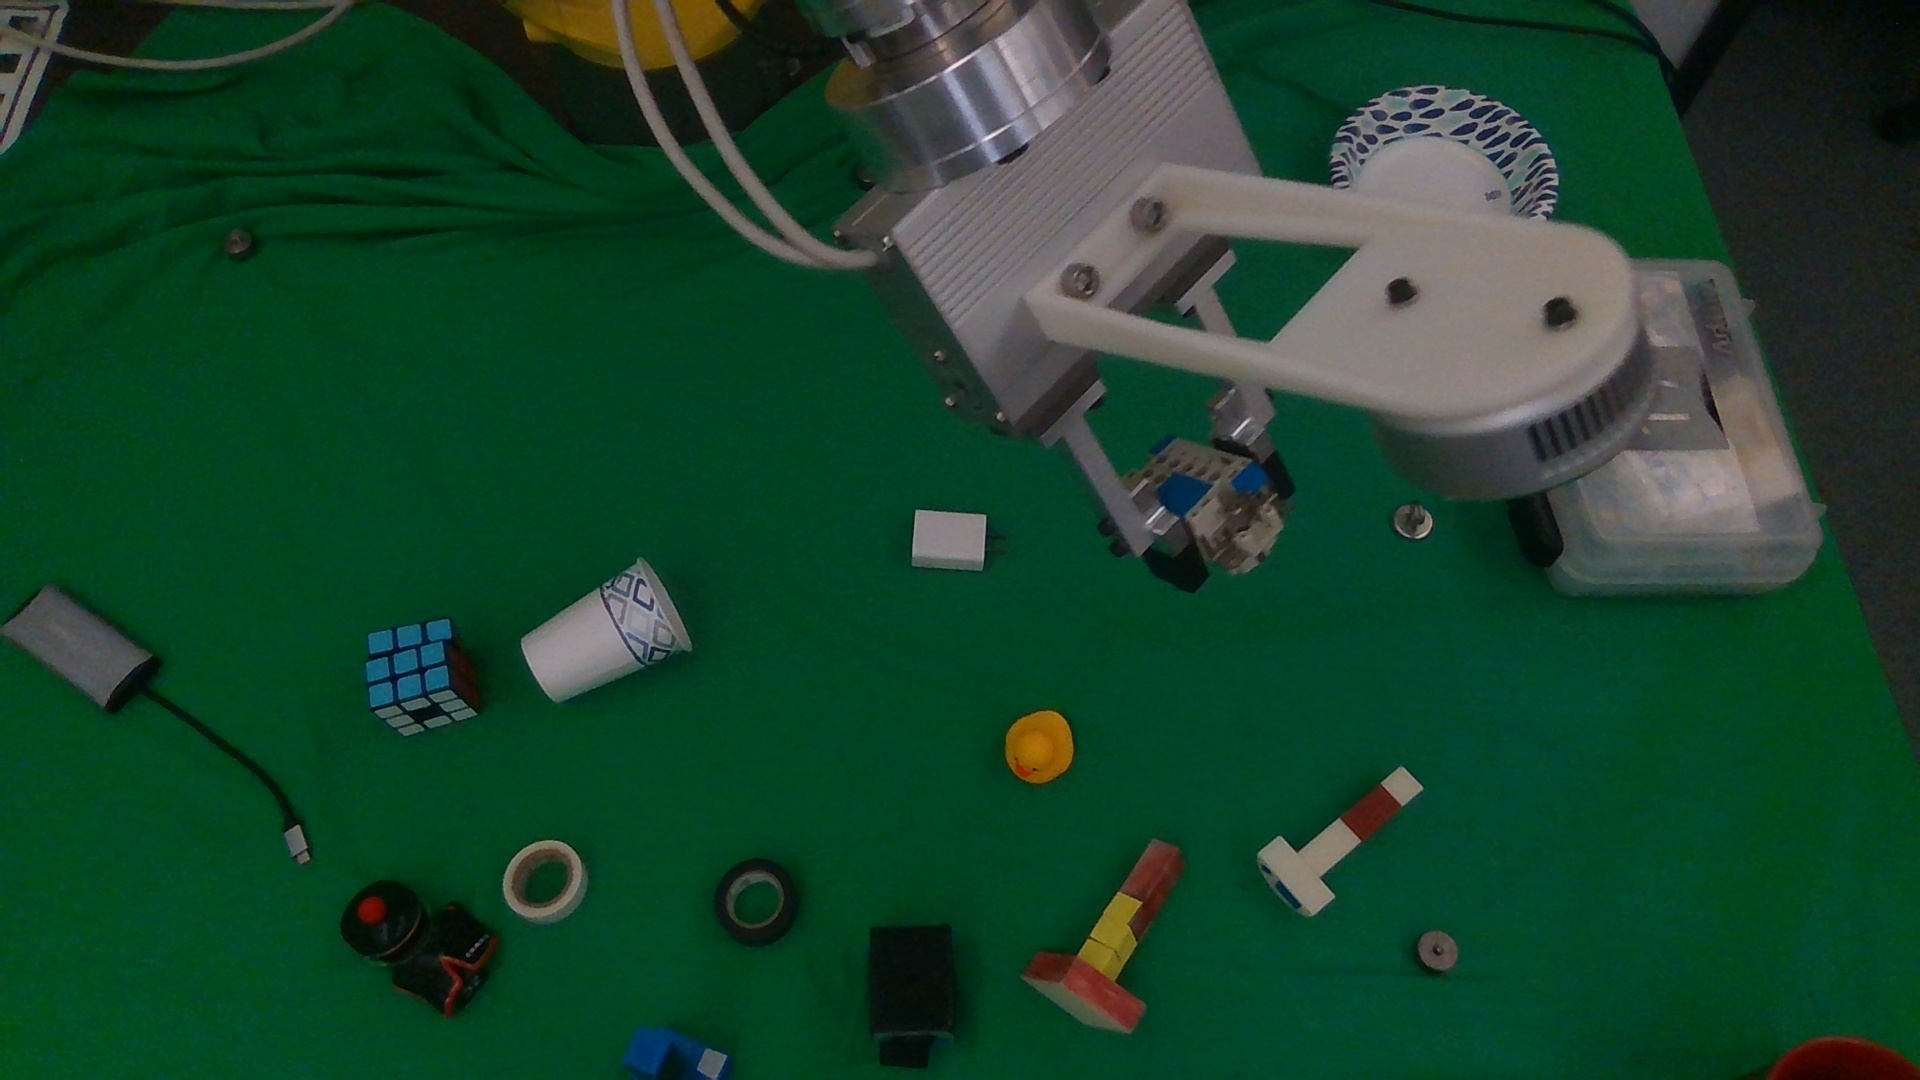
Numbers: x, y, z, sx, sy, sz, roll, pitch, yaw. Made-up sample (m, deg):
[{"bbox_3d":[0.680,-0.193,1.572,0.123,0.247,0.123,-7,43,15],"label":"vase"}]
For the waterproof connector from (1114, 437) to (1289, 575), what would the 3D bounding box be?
[{"bbox_3d":[0.083,-0.010,0.489,0.035,0.037,0.065,-47,33,-14],"label":"waterproof connector"}]

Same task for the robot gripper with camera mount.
[{"bbox_3d":[0.103,-0.046,0.386,0.119,0.158,0.194,-44,34,-21],"label":"robot gripper with camera mount"}]
